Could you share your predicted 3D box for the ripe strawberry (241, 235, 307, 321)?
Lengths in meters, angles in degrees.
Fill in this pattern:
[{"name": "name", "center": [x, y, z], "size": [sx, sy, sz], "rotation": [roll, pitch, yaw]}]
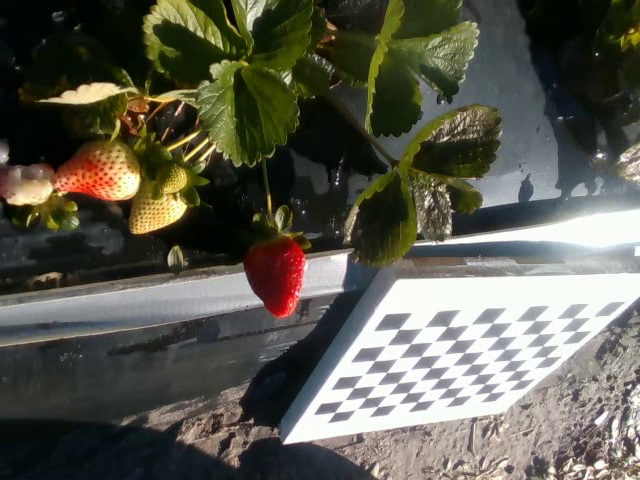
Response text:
[{"name": "ripe strawberry", "center": [-0.023, 0.020, 0.310], "size": [0.036, 0.046, 0.038], "rotation": [2, -27, -22]}]
